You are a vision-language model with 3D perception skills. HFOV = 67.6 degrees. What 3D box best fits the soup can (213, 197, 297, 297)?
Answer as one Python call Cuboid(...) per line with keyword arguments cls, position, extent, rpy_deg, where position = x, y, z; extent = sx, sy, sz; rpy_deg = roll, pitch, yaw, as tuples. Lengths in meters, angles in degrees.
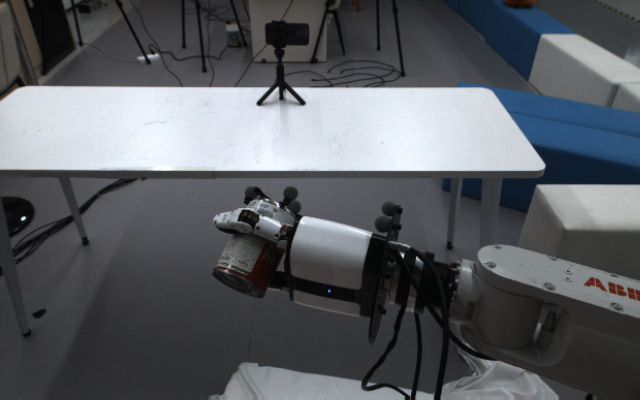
Cuboid(cls="soup can", position=(-0.075, 0.055, 0.580), extent=(0.067, 0.067, 0.101), rpy_deg=(15, 63, 18))
